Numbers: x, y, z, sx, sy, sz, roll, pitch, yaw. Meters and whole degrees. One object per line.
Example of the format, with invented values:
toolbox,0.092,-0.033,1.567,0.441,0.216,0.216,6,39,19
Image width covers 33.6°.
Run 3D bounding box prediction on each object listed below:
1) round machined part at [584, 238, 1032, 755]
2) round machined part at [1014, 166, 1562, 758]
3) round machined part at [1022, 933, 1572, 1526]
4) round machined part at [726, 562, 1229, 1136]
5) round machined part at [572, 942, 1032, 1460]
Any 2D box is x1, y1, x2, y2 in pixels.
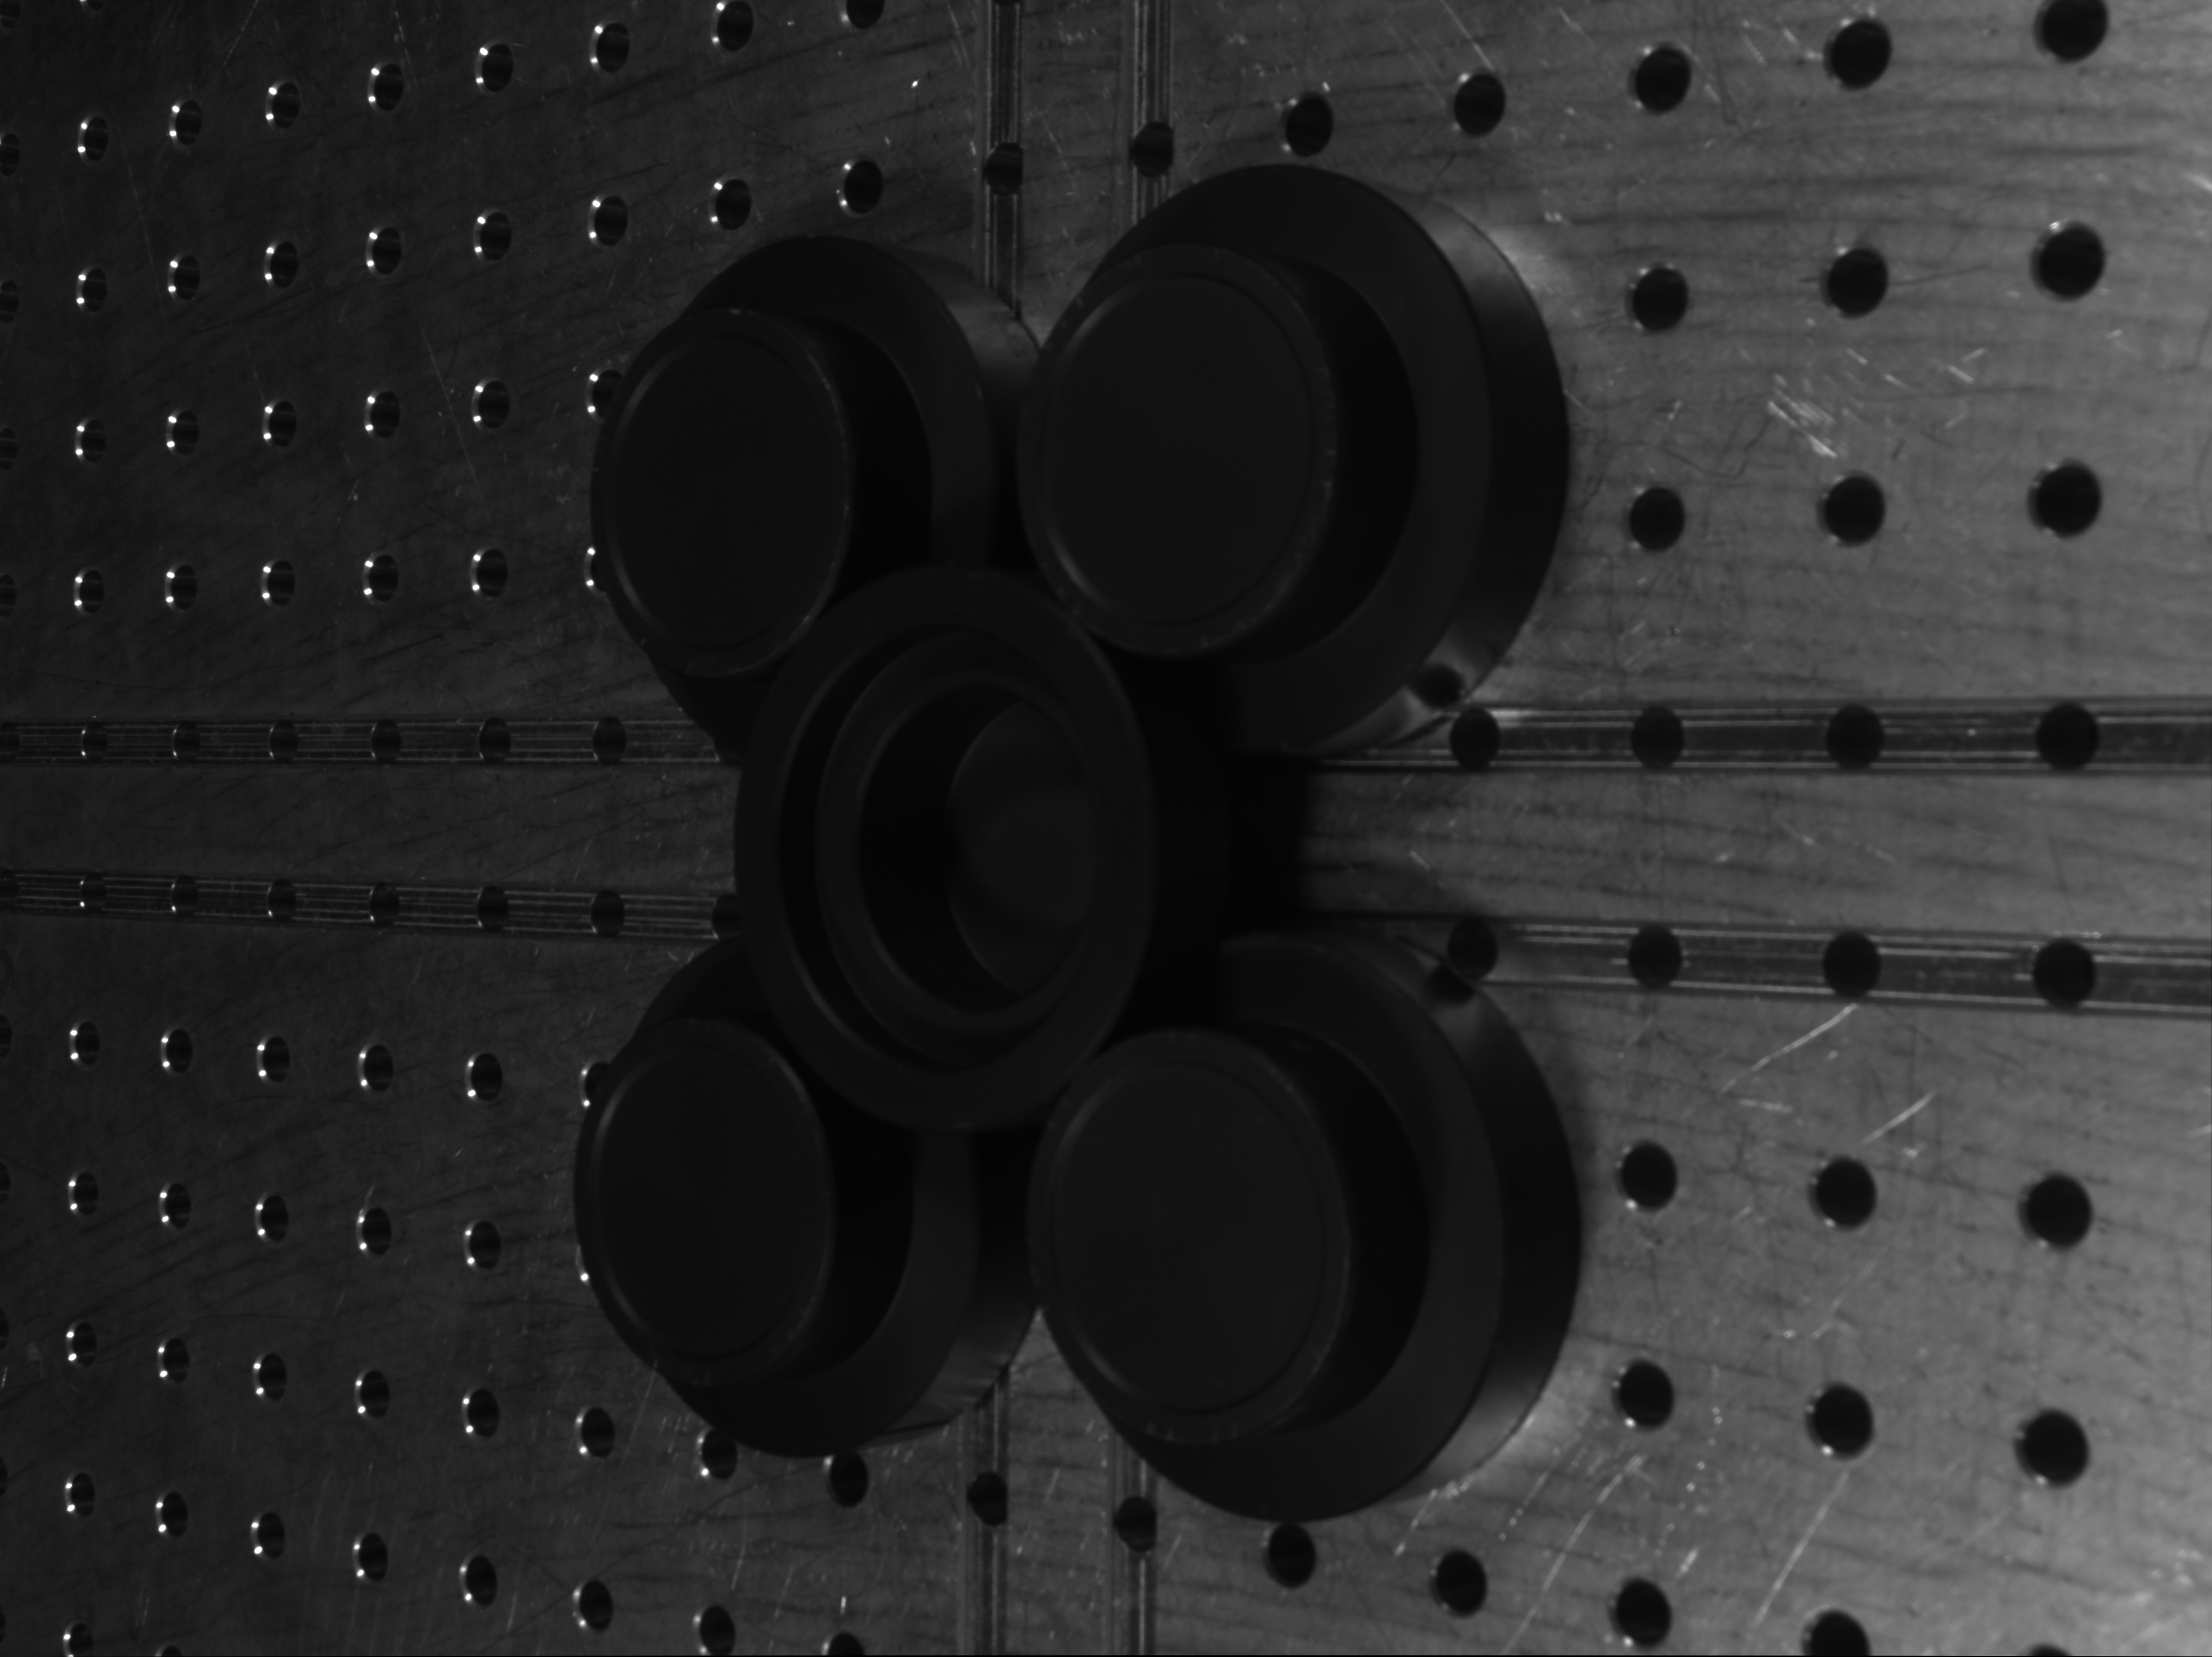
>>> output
round machined part,-0.058,-0.060,0.675,0.098,0.042,0.098,0,90,39
round machined part,0.023,-0.061,0.609,0.098,0.042,0.098,0,90,39
round machined part,0.025,0.066,0.607,0.098,0.042,0.098,0,90,39
round machined part,-0.018,0.004,0.641,0.098,0.042,0.098,0,90,39
round machined part,-0.061,0.068,0.679,0.098,0.042,0.098,0,90,39
